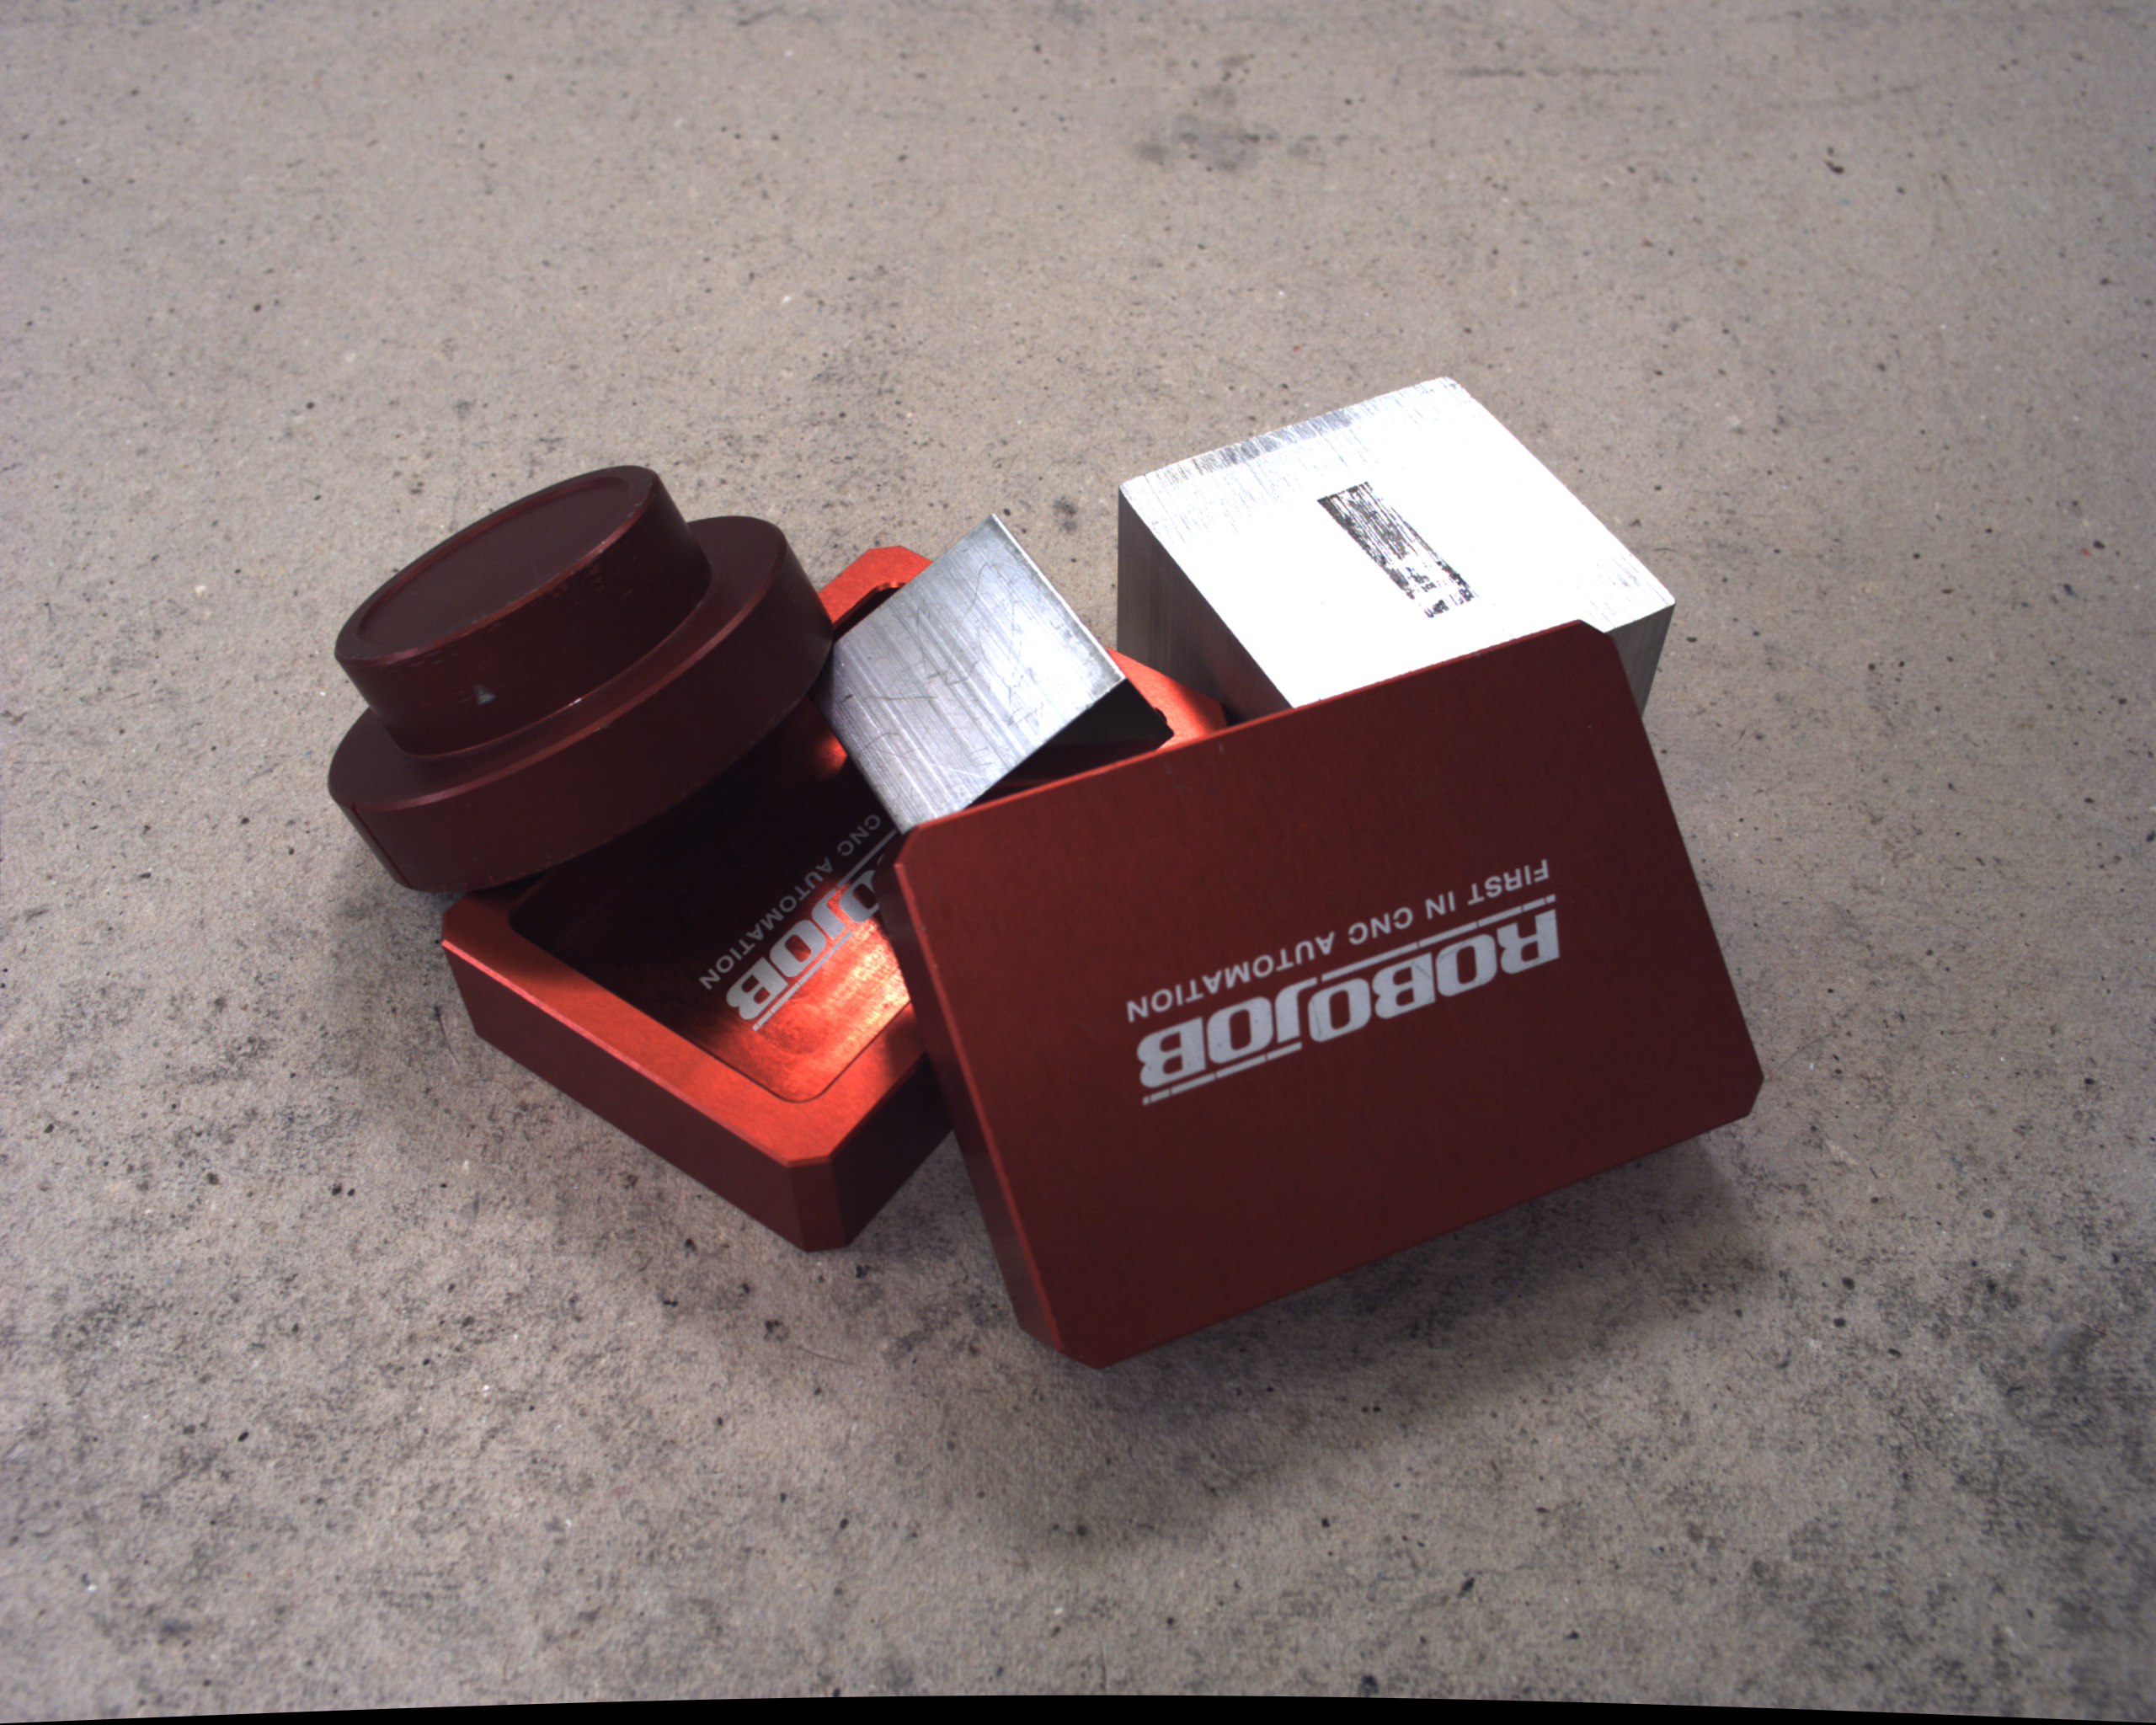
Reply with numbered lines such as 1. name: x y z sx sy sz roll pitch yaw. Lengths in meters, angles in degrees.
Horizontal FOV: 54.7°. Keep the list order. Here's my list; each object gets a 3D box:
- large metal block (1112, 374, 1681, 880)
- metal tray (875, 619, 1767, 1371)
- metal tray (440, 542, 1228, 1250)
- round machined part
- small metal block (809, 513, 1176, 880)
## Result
1. large metal block: 0.061 -0.047 0.429 0.081 0.050 0.080 -21 53 -17
2. metal tray: 0.041 0.020 0.355 0.131 0.030 0.090 -18 89 -14
3. metal tray: -0.042 0.000 0.400 0.090 0.030 0.131 28 55 21
4. round machined part: -0.100 -0.041 0.400 0.098 0.042 0.098 -20 29 12
5. small metal block: -0.018 -0.030 0.400 0.050 0.025 0.050 -39 58 4
